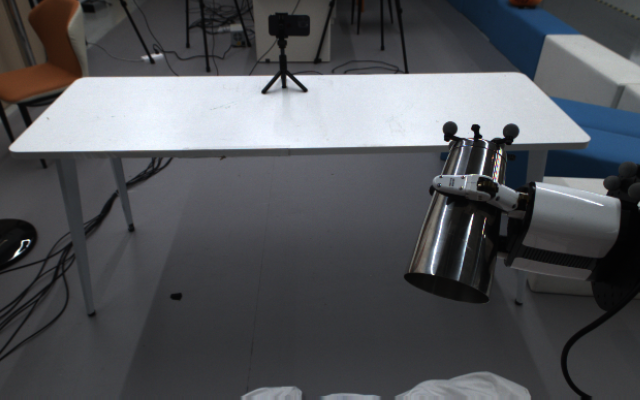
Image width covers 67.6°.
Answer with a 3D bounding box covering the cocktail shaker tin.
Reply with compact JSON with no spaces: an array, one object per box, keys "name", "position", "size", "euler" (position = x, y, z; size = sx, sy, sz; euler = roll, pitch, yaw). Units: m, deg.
[{"name":"cocktail shaker tin","position":[0.161,0.019,0.546],"size":[0.093,0.093,0.170],"euler":[14,70,17]}]
